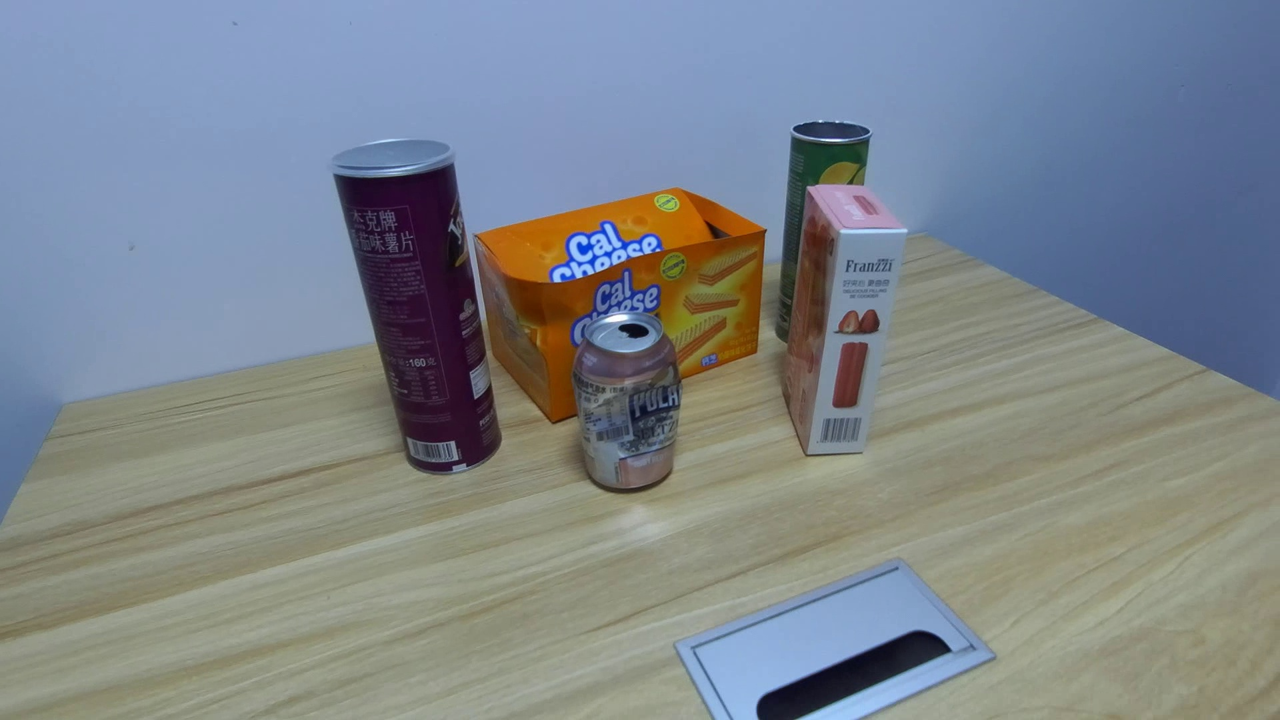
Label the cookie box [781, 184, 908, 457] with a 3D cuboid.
[{"bbox_3d":[0.150,-0.028,0.536,0.048,0.185,0.096,-1,31,-2],"label":"cookie box"}]

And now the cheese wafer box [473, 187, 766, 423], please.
[{"bbox_3d":[-0.019,-0.057,0.650,0.231,0.132,0.151,-18,35,-25],"label":"cheese wafer box"}]

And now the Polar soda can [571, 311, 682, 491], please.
[{"bbox_3d":[-0.007,0.031,0.508,0.074,0.122,0.067,4,32,11],"label":"Polar soda can"}]

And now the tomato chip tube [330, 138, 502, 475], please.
[{"bbox_3d":[-0.155,-0.031,0.512,0.078,0.234,0.078,-1,32,1],"label":"tomato chip tube"}]

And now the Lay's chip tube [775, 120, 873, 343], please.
[{"bbox_3d":[0.168,-0.114,0.658,0.071,0.203,0.071,-1,32,1],"label":"Lay's chip tube"}]
